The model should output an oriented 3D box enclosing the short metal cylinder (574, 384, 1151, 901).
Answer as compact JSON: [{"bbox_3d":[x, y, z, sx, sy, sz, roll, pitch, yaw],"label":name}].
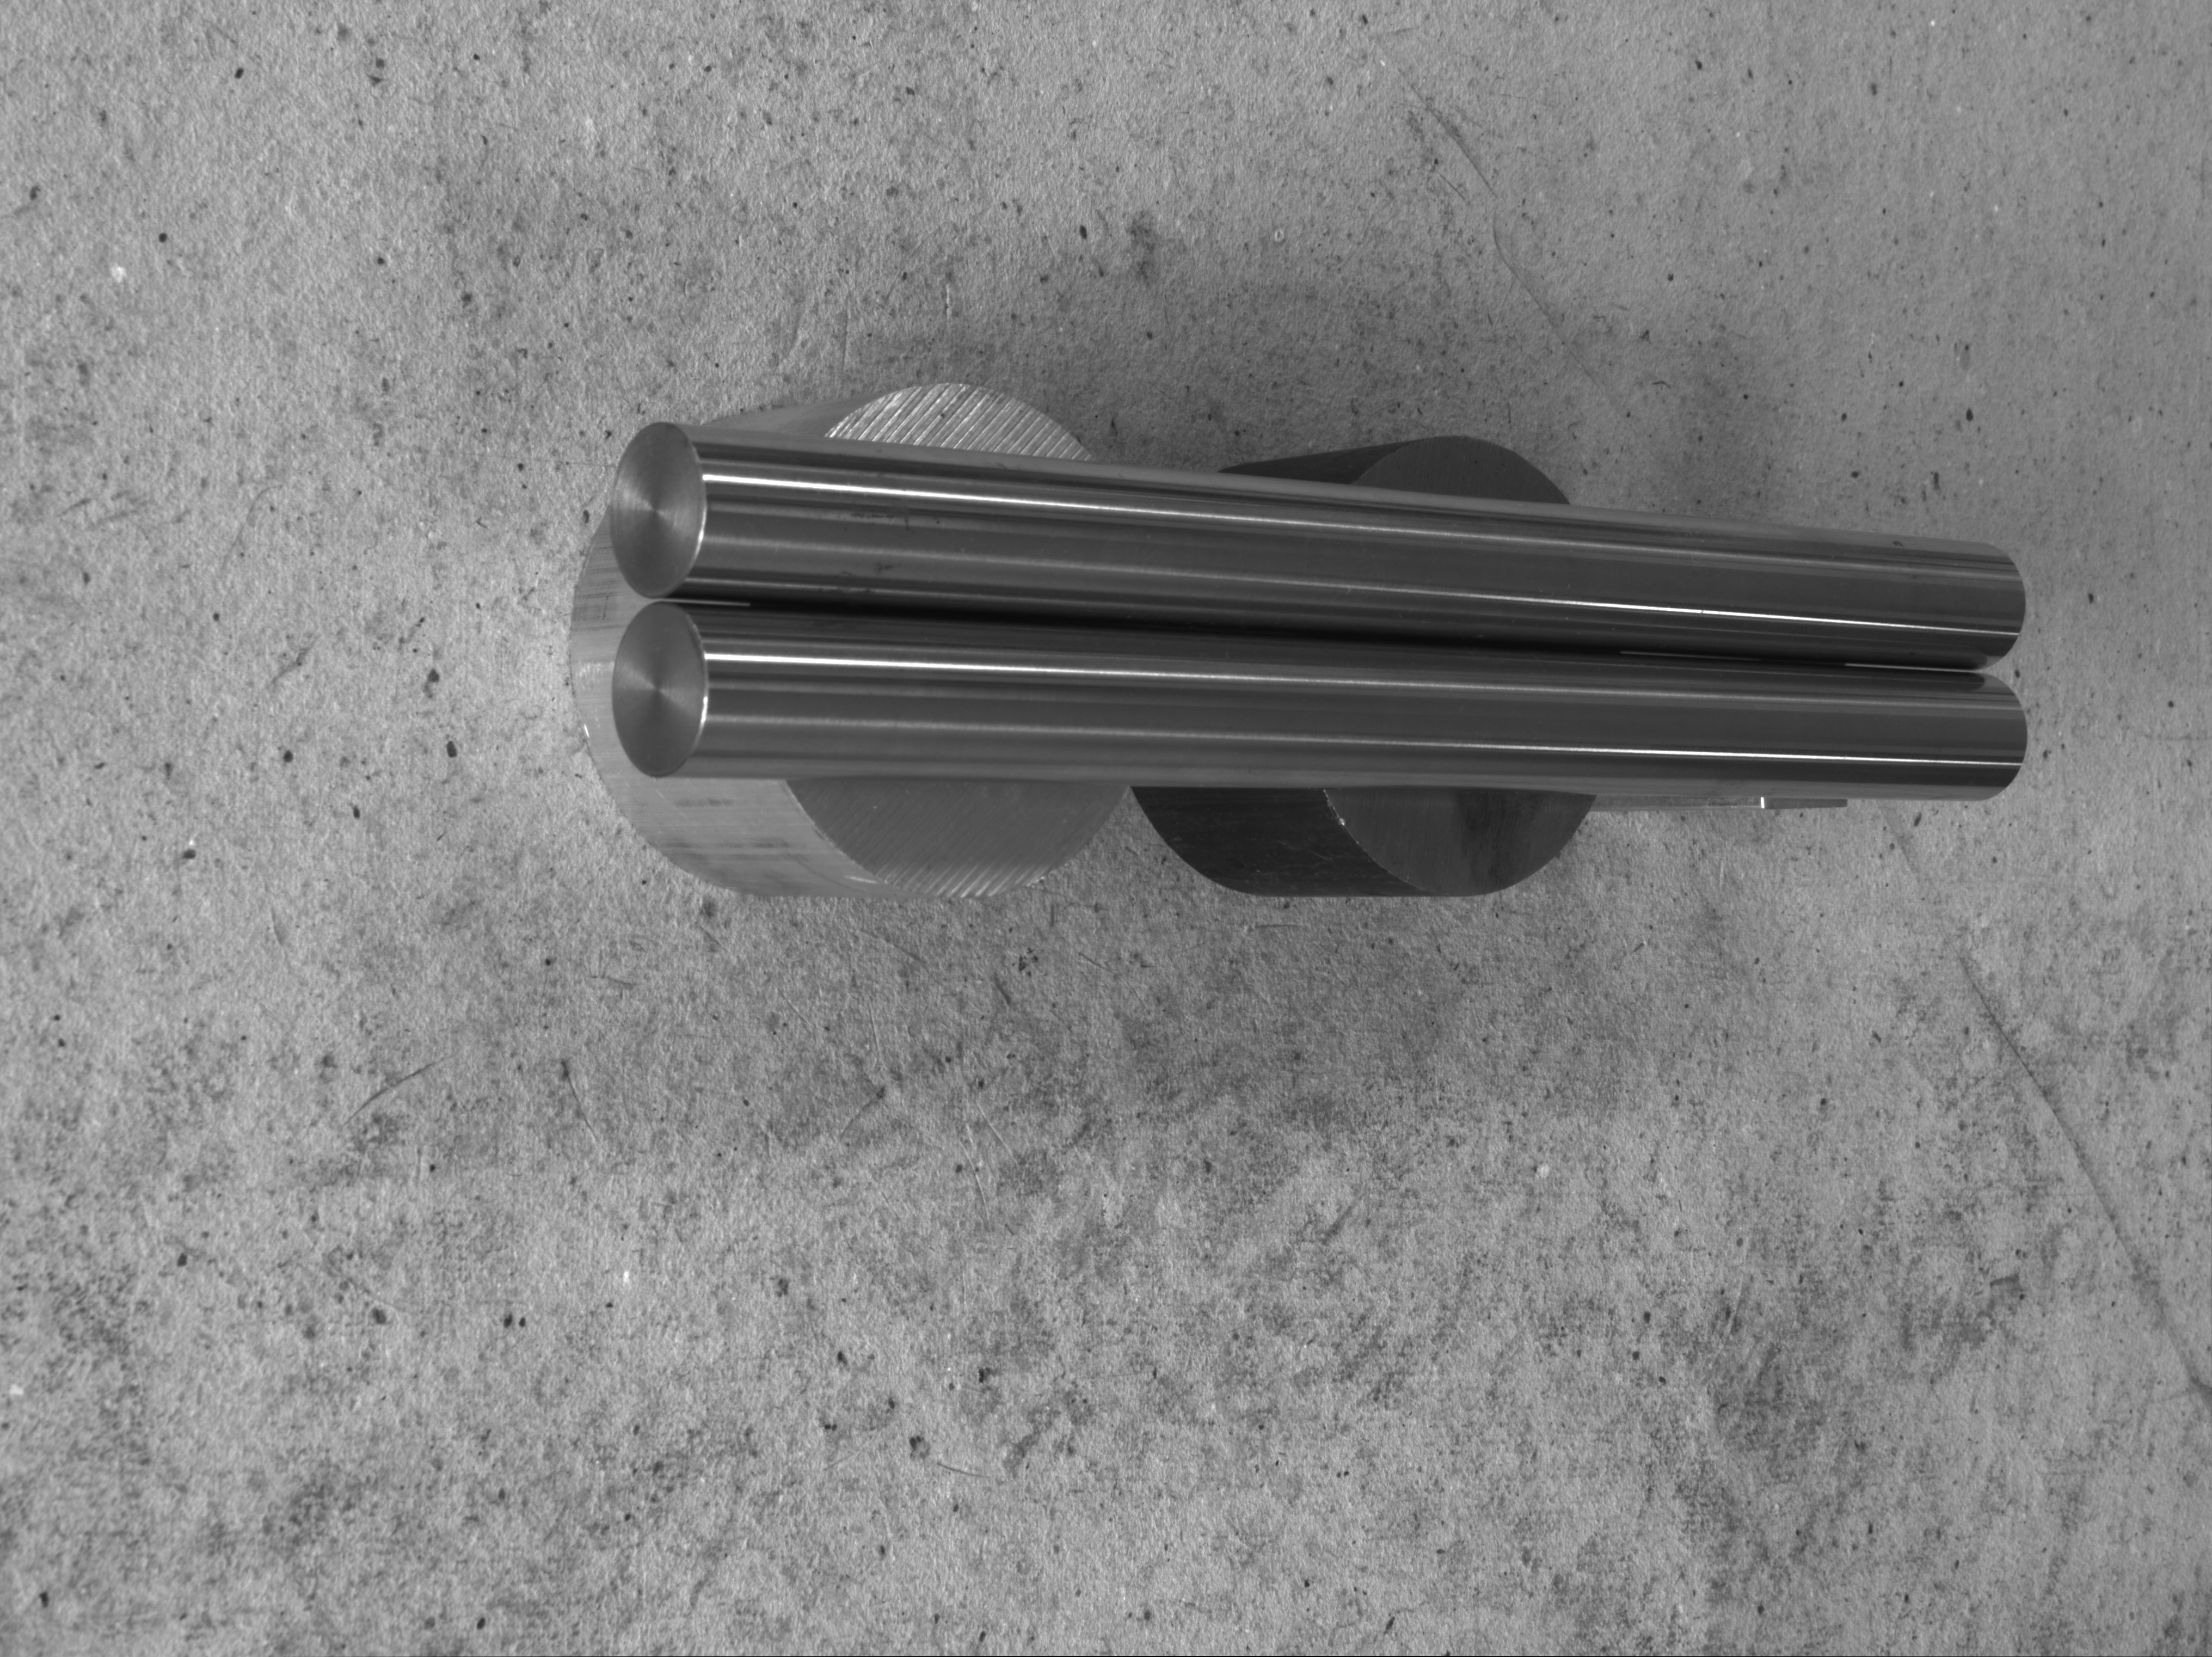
[{"bbox_3d":[-0.037,-0.029,0.588,0.080,0.050,0.080,0,90,-40],"label":"short metal cylinder"}]

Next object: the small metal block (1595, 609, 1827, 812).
[{"bbox_3d":[0.116,-0.029,0.718,0.025,0.050,0.050,-2,91,-40],"label":"small metal block"}]

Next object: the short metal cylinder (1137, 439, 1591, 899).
[{"bbox_3d":[0.047,-0.028,0.660,0.080,0.050,0.080,0,90,-40],"label":"short metal cylinder"}]

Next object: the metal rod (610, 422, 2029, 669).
[{"bbox_3d":[0.052,-0.044,0.615,0.301,0.025,0.025,0,90,-40],"label":"metal rod"}]

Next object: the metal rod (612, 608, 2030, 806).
[{"bbox_3d":[0.053,-0.018,0.615,0.301,0.025,0.025,0,90,-40],"label":"metal rod"}]
